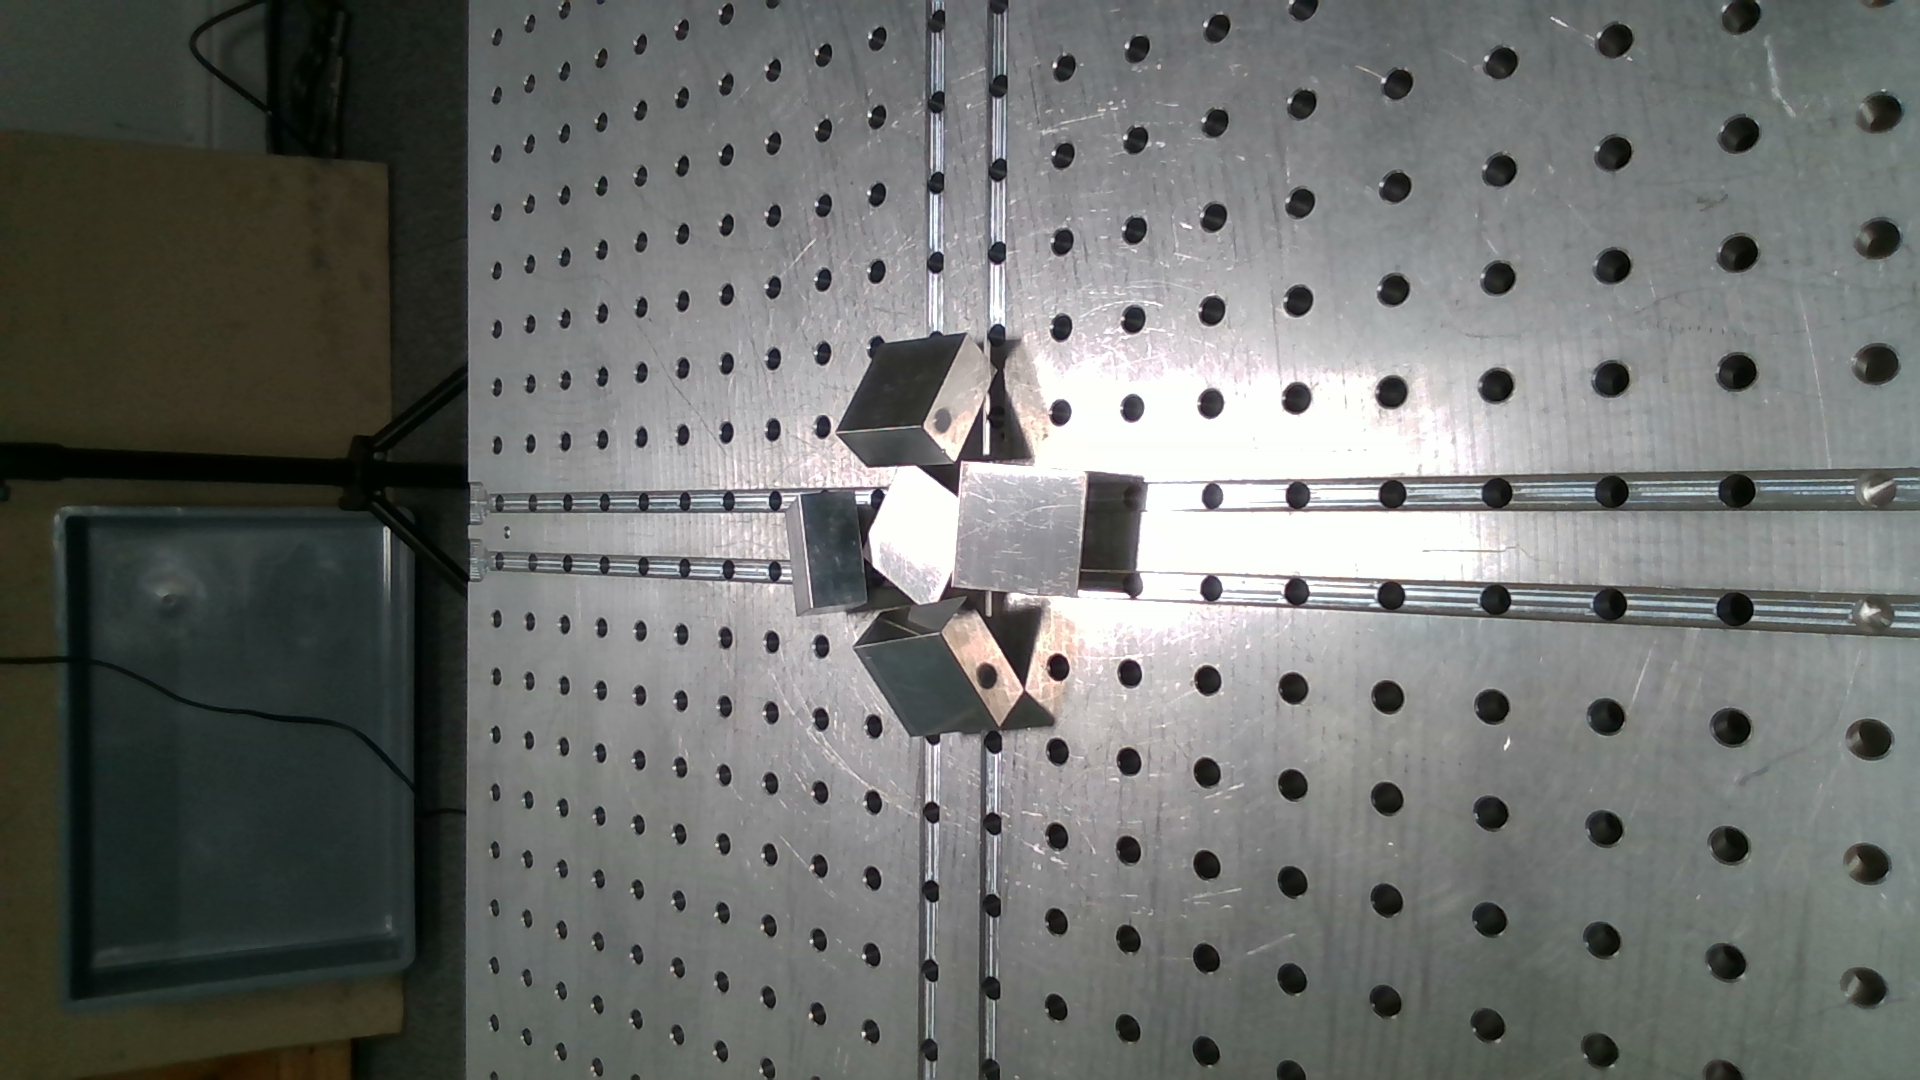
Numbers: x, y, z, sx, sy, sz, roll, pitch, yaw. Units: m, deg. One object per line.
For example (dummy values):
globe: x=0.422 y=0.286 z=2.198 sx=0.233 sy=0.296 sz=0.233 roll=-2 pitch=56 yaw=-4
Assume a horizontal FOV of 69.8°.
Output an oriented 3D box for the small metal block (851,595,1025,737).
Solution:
small metal block: x=-0.009 y=0.054 z=0.578 sx=0.050 sy=0.025 sz=0.050 roll=-12 pitch=117 yaw=39

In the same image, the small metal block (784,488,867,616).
small metal block: x=-0.061 y=0.006 z=0.621 sx=0.050 sy=0.025 sz=0.050 roll=152 pitch=111 yaw=-74

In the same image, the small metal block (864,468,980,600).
small metal block: x=-0.010 y=-0.003 z=0.593 sx=0.050 sy=0.025 sz=0.050 roll=38 pitch=114 yaw=33

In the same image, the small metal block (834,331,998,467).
small metal block: x=-0.019 y=-0.059 z=0.585 sx=0.050 sy=0.025 sz=0.050 roll=0 pitch=56 yaw=40

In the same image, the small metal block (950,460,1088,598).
small metal block: x=0.024 y=-0.005 z=0.549 sx=0.050 sy=0.025 sz=0.050 roll=5 pitch=94 yaw=4
